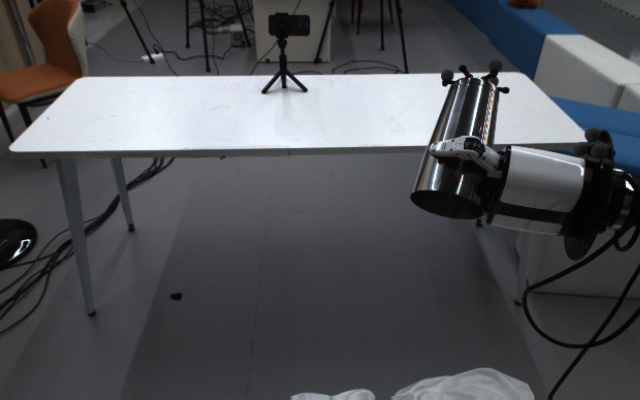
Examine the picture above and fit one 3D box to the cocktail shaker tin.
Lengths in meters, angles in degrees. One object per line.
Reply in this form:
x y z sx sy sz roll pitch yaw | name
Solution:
0.183 -0.070 0.631 0.093 0.093 0.170 14 73 16 | cocktail shaker tin
